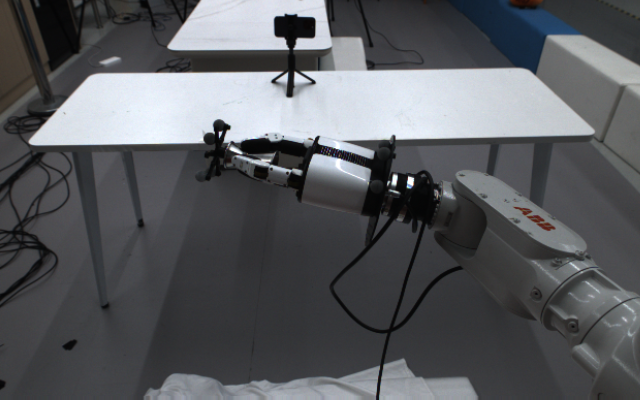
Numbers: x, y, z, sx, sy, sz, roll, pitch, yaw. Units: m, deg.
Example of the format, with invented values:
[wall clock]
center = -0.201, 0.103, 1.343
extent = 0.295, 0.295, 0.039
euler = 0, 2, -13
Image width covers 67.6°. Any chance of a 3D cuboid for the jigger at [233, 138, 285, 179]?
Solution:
[jigger]
center = -0.091, -0.058, 0.683
extent = 0.071, 0.043, 0.043
euler = 14, 36, 4
